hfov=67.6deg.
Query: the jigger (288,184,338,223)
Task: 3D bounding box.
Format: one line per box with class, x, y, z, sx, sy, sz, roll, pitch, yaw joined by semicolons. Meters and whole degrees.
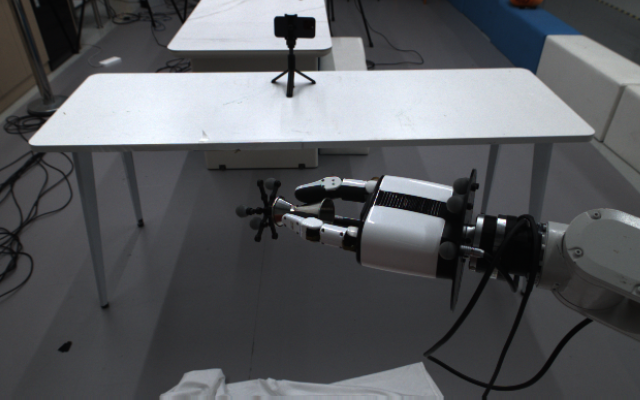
jigger;-0.013;0.010;0.603;0.071;0.043;0.043;3;32;26
